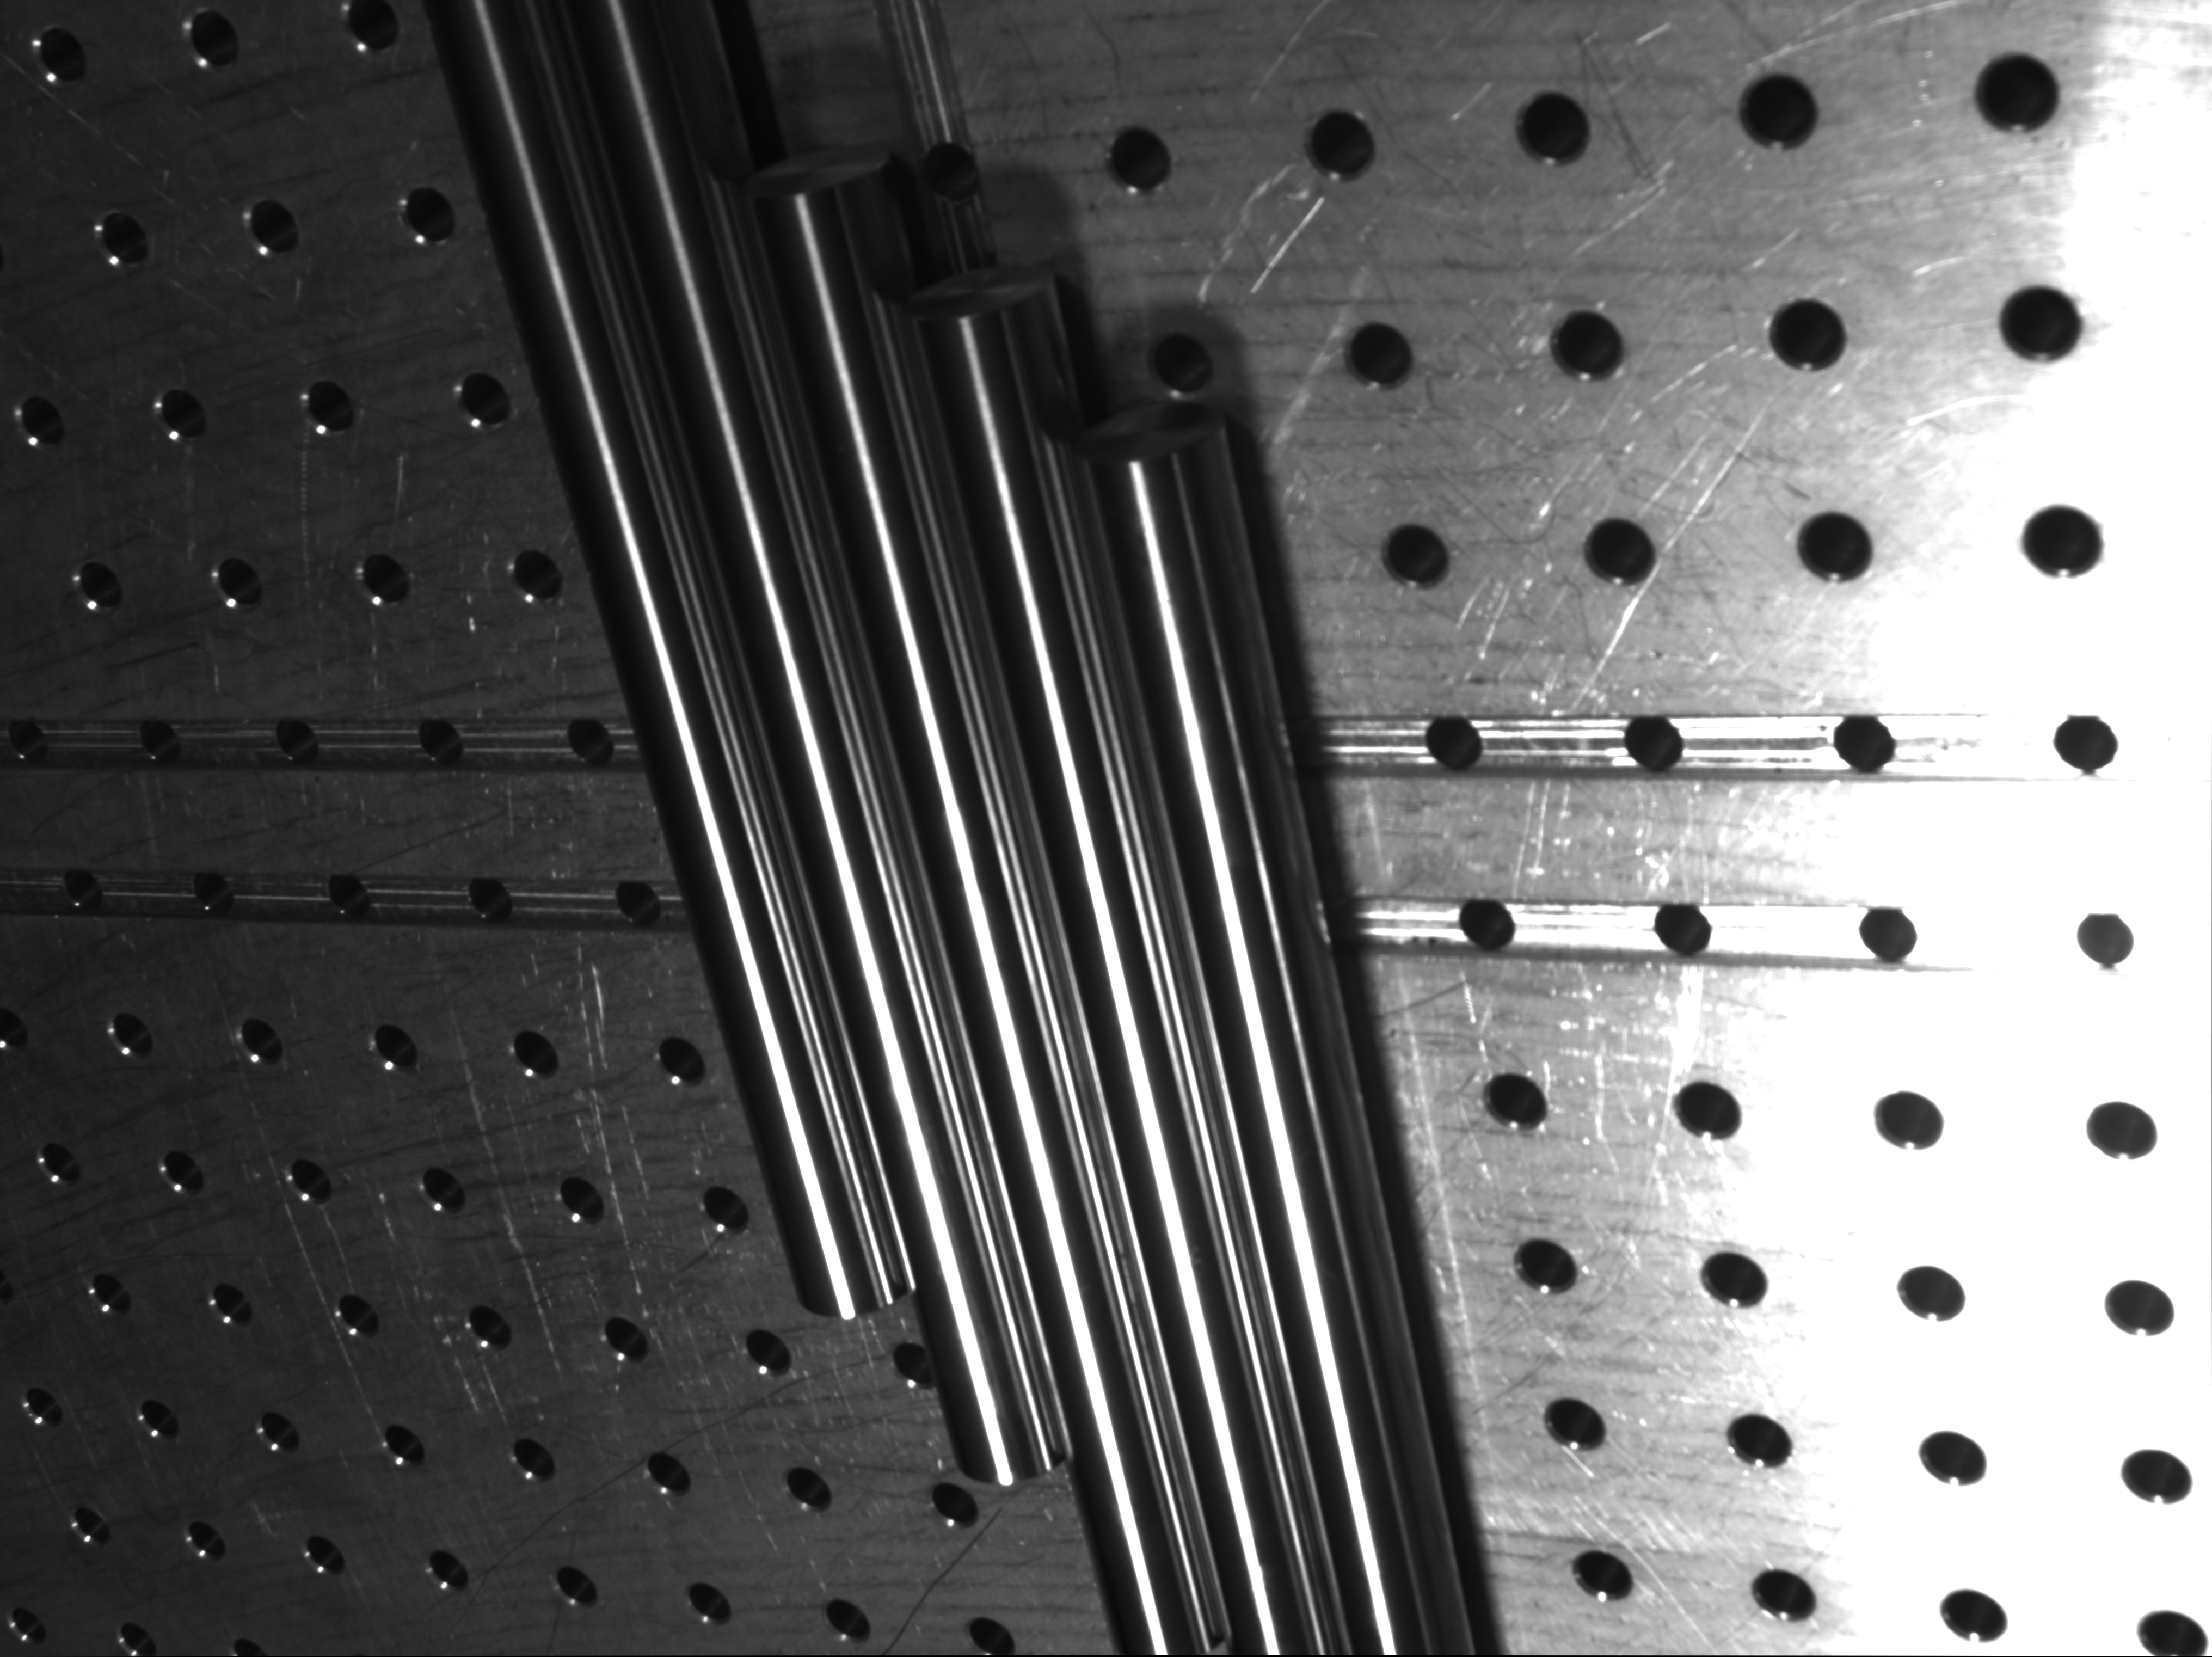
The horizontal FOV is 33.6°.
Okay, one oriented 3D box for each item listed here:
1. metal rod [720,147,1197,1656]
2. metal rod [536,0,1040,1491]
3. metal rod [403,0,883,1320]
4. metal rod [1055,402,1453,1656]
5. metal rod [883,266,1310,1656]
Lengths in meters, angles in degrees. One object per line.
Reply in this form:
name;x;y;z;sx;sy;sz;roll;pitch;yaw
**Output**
metal rod;-0.021;0.026;0.659;0.025;0.025;0.300;1;119;26
metal rod;-0.052;-0.010;0.652;0.025;0.025;0.300;1;119;26
metal rod;-0.082;-0.044;0.648;0.025;0.025;0.300;1;119;26
metal rod;0.034;0.068;0.657;0.025;0.025;0.300;1;119;26
metal rod;0.006;0.045;0.658;0.025;0.025;0.300;1;119;26
